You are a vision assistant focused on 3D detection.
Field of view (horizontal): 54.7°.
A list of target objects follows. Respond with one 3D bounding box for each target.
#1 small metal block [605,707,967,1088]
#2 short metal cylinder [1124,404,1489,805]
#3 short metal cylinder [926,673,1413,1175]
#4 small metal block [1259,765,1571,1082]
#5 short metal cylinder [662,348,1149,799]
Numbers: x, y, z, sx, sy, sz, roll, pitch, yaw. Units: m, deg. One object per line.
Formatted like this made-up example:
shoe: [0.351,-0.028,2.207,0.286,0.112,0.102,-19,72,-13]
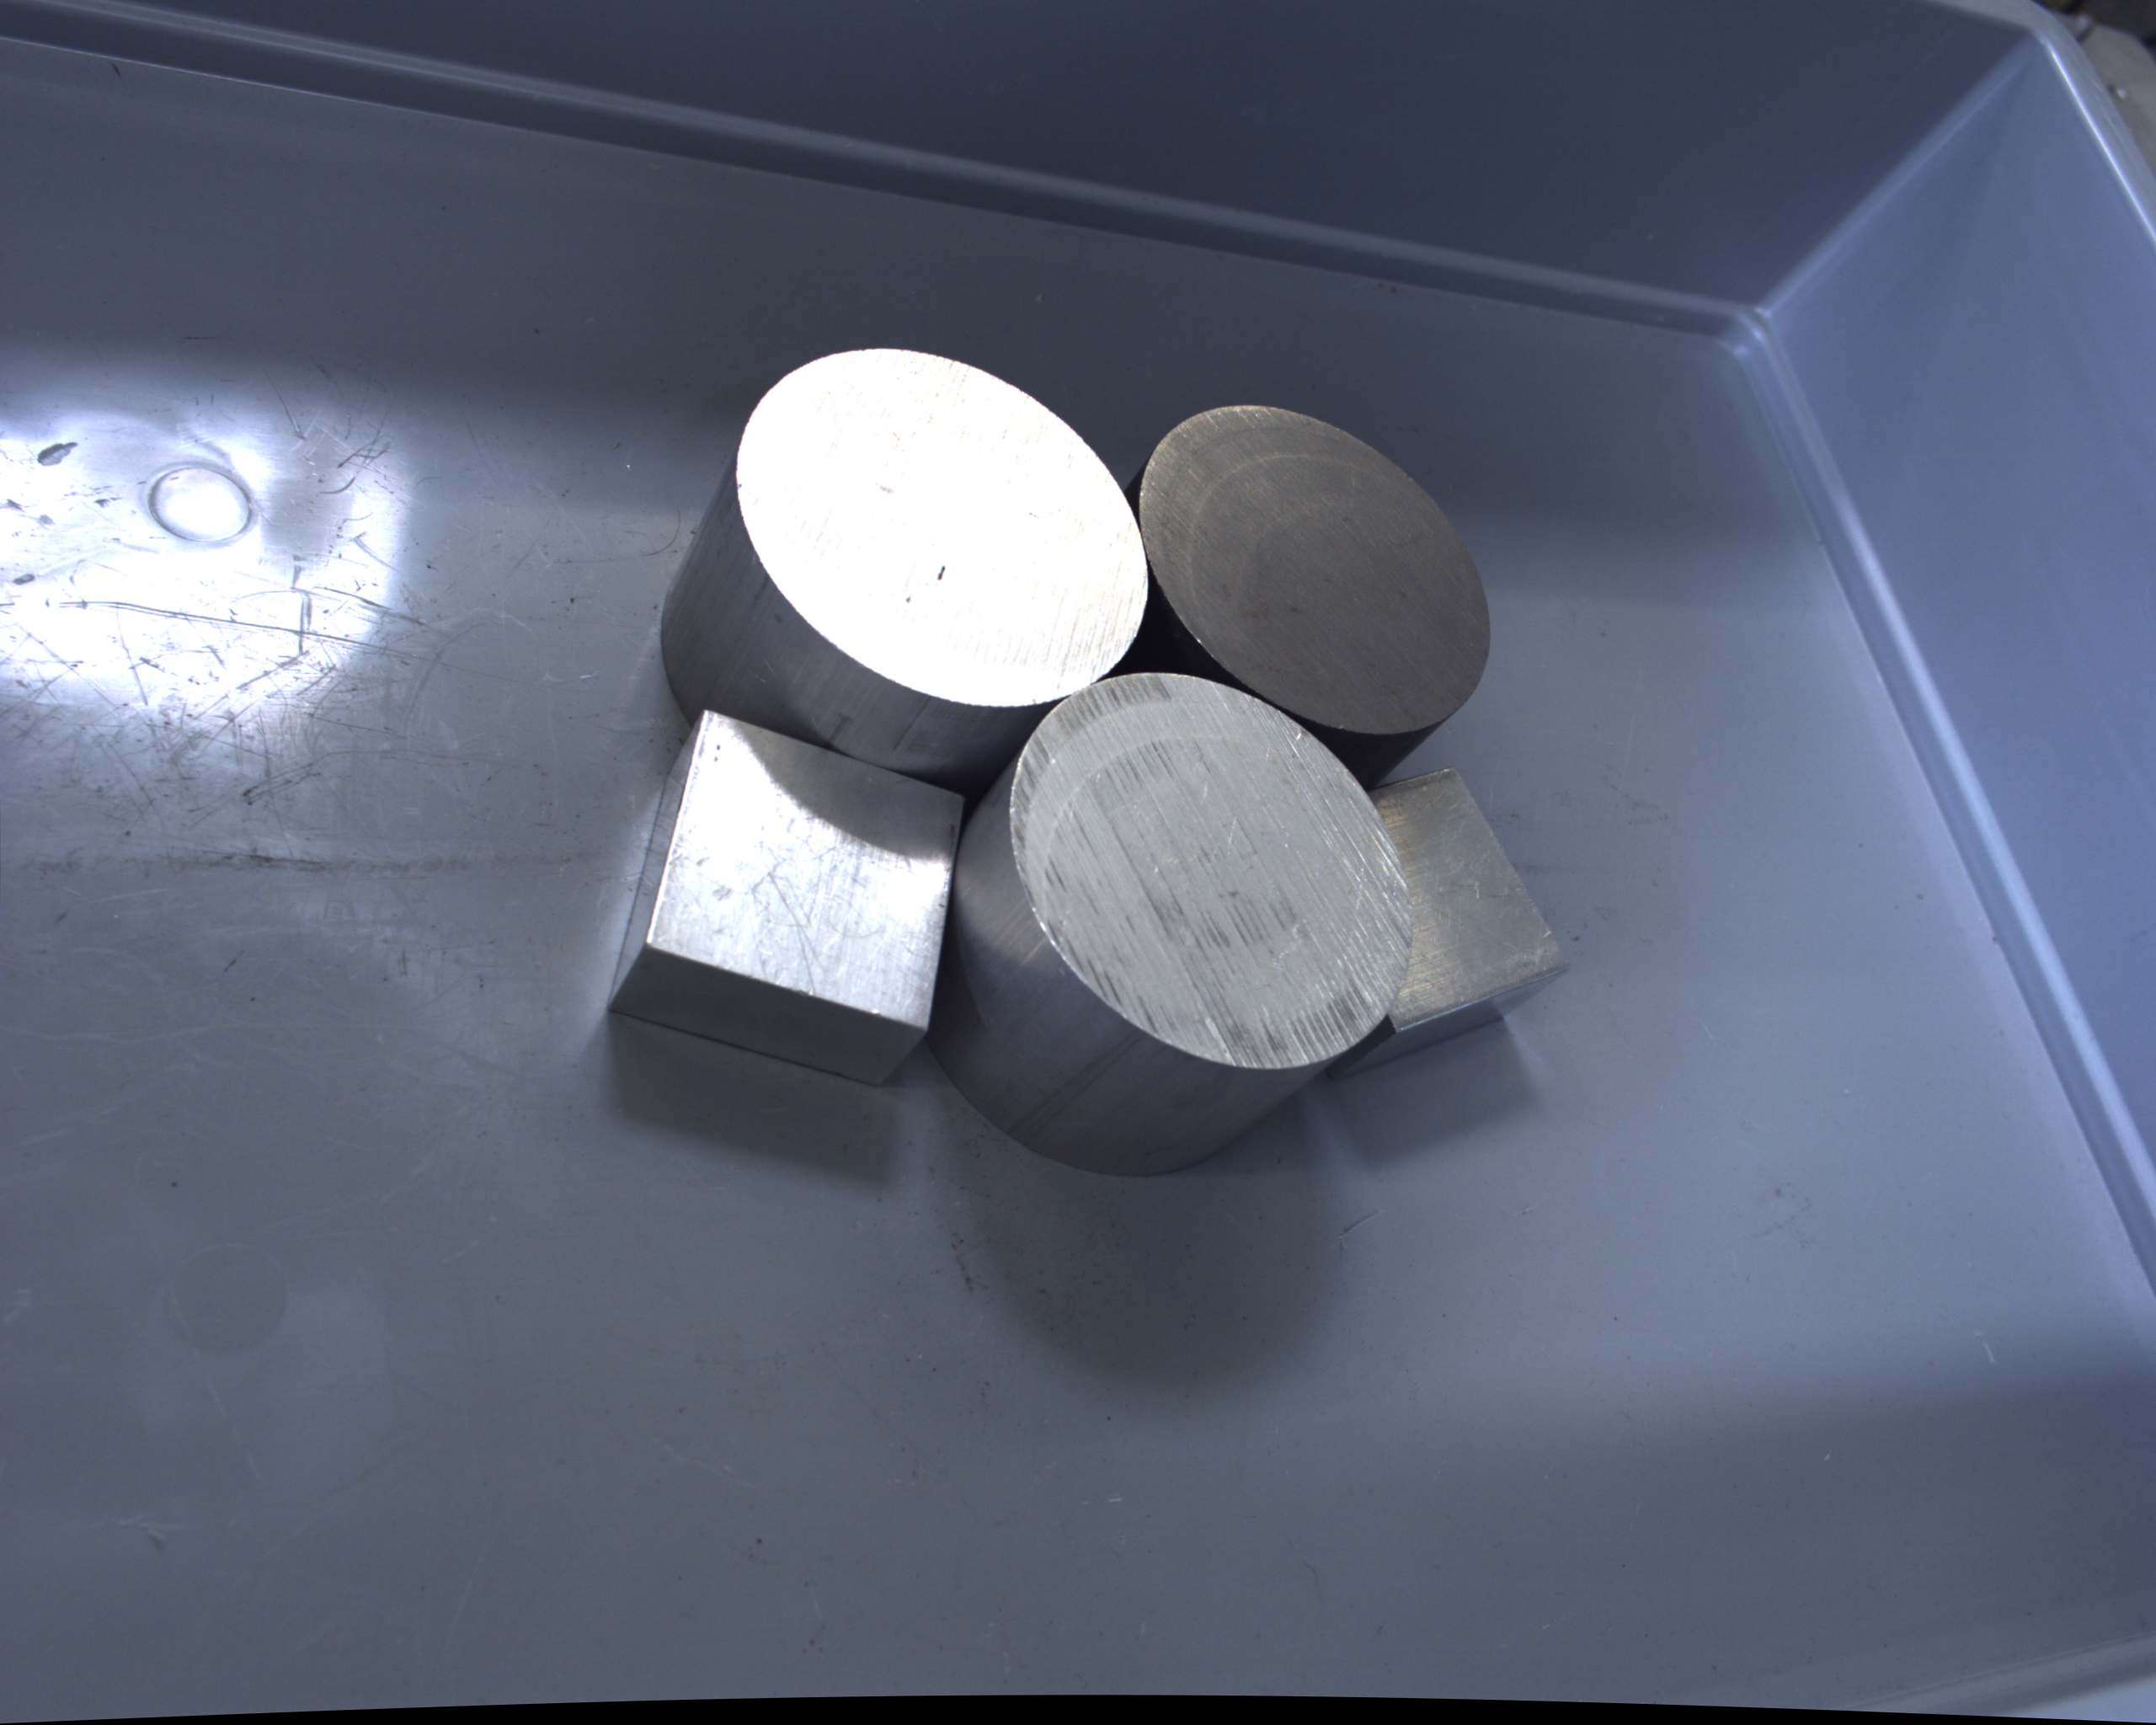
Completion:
small metal block: [-0.051,0.007,0.372,0.050,0.025,0.050,19,54,-17]
short metal cylinder: [0.038,-0.049,0.438,0.081,0.050,0.080,14,56,-21]
short metal cylinder: [0.014,0.012,0.388,0.081,0.050,0.080,14,56,-21]
small metal block: [0.065,0.012,0.432,0.050,0.025,0.050,-15,70,-34]
short metal cylinder: [-0.034,-0.051,0.401,0.081,0.050,0.080,14,56,-21]
